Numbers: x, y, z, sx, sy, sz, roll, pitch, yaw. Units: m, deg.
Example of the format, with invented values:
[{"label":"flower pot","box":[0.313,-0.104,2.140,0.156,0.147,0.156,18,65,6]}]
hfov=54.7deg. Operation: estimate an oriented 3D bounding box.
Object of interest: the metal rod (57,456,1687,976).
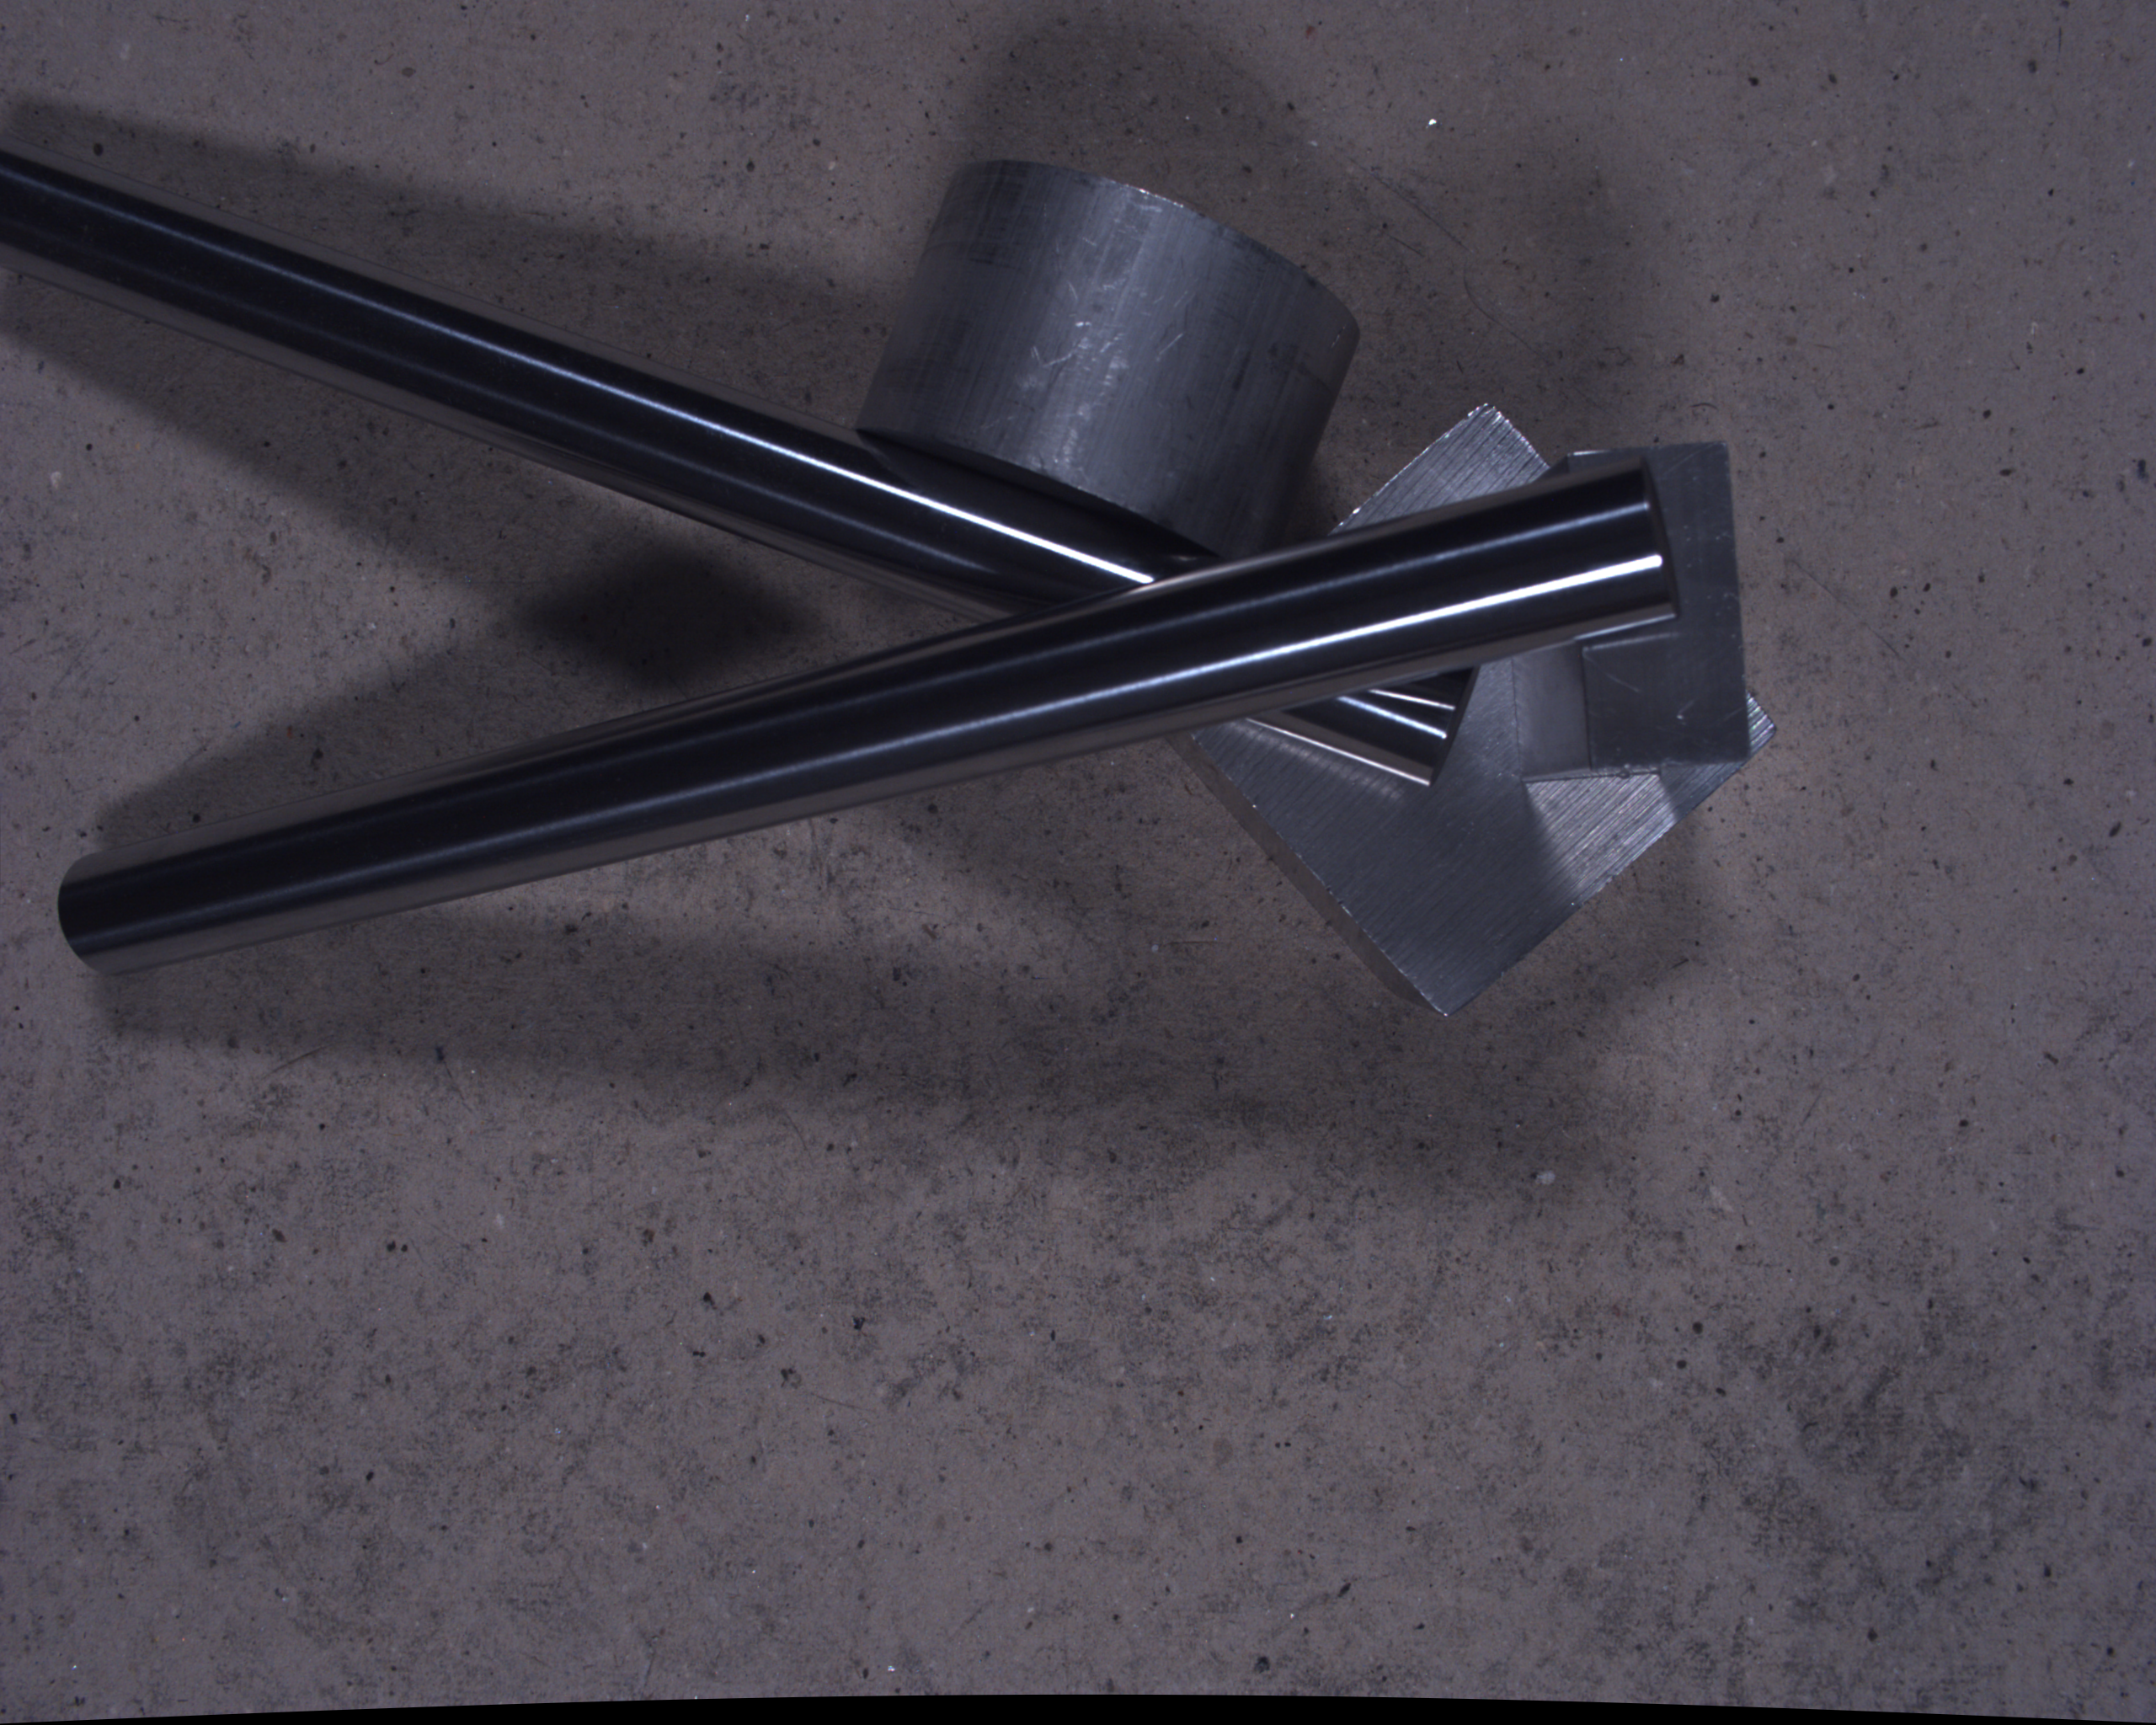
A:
[{"label":"metal rod","box":[-0.052,-0.019,0.357,0.301,0.025,0.025,-12,90,20]}]

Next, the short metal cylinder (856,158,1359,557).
[{"label":"short metal cylinder","box":[0.005,-0.087,0.385,0.080,0.080,0.050,21,90,-1]}]

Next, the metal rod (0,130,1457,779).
[{"label":"metal rod","box":[-0.076,-0.079,0.381,0.301,0.025,0.025,21,90,11]}]

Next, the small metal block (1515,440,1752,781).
[{"label":"small metal block","box":[0.090,-0.040,0.347,0.025,0.050,0.050,-4,90,0]}]

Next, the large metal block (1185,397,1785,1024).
[{"label":"large metal block","box":[0.070,-0.028,0.398,0.080,0.050,0.080,-41,90,1]}]
